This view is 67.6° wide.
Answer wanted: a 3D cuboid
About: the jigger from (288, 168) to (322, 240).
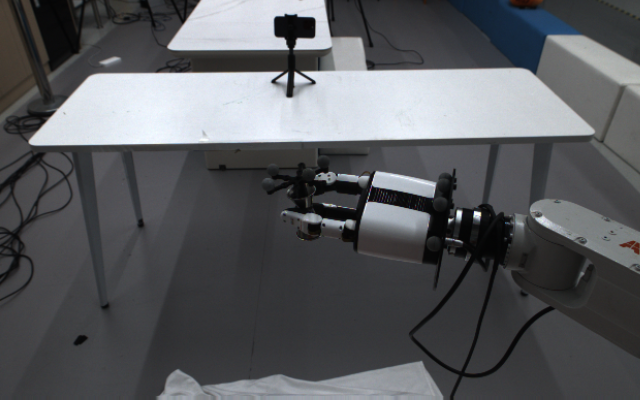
[{"bbox_3d":[-0.018,0.016,0.664,0.043,0.071,0.043,-10,32,6],"label":"jigger"}]
